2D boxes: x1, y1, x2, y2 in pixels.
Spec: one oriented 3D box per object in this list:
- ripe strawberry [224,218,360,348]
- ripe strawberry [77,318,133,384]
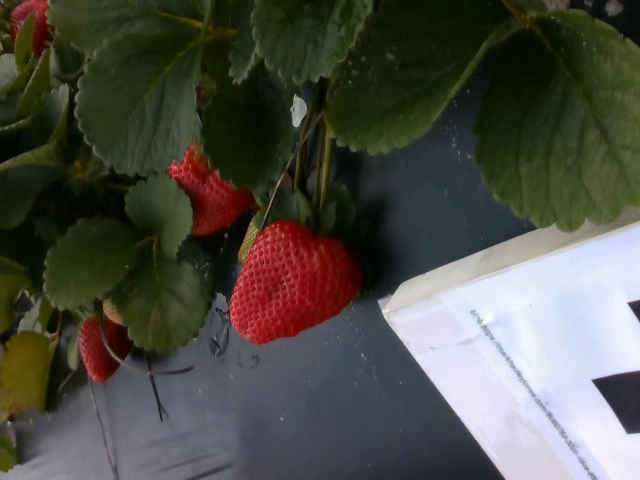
[{"bbox_3d":[-0.017,0.024,0.270,0.056,0.065,0.057,23,-31,16],"label":"ripe strawberry"},{"bbox_3d":[-0.151,0.073,0.408,0.041,0.052,0.044,4,-34,-26],"label":"ripe strawberry"}]
